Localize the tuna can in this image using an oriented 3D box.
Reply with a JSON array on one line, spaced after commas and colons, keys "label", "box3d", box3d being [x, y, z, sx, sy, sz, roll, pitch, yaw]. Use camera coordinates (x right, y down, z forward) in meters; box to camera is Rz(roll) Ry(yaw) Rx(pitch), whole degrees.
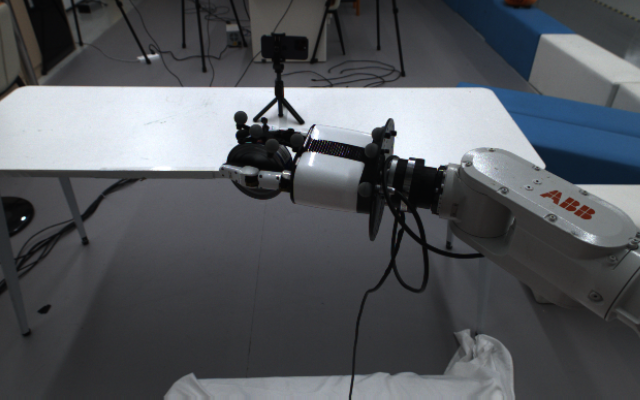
[{"label": "tuna can", "box3d": [-0.078, -0.046, 0.652, 0.085, 0.085, 0.034, 12, 33, 14]}]
